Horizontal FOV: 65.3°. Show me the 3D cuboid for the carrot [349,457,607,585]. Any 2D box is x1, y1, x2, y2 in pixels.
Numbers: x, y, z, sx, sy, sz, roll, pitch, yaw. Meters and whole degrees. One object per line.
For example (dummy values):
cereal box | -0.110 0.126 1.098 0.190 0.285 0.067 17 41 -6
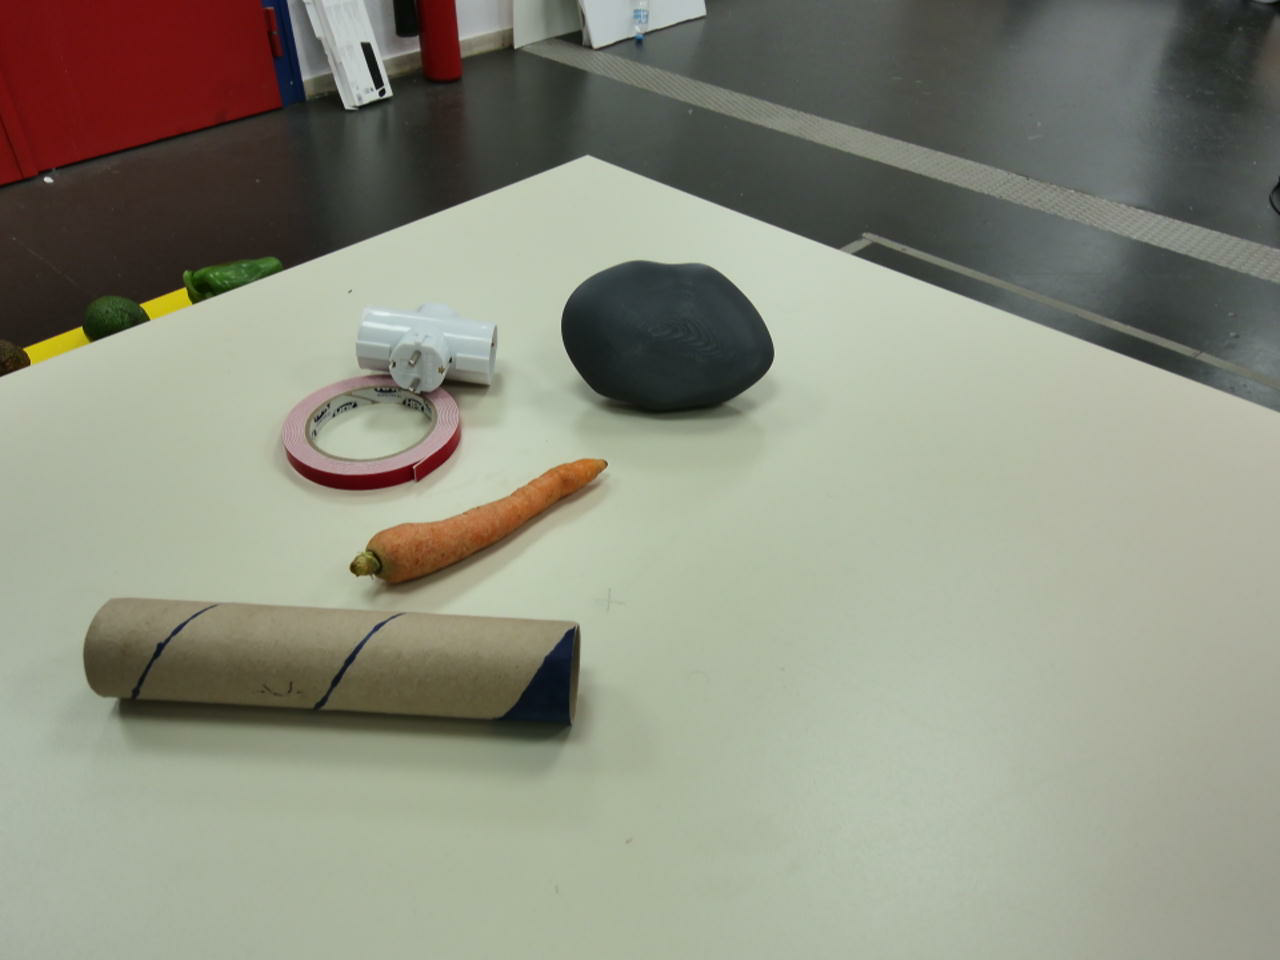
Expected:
carrot | -0.084 0.019 0.564 0.173 0.032 0.030 -26 45 -31
